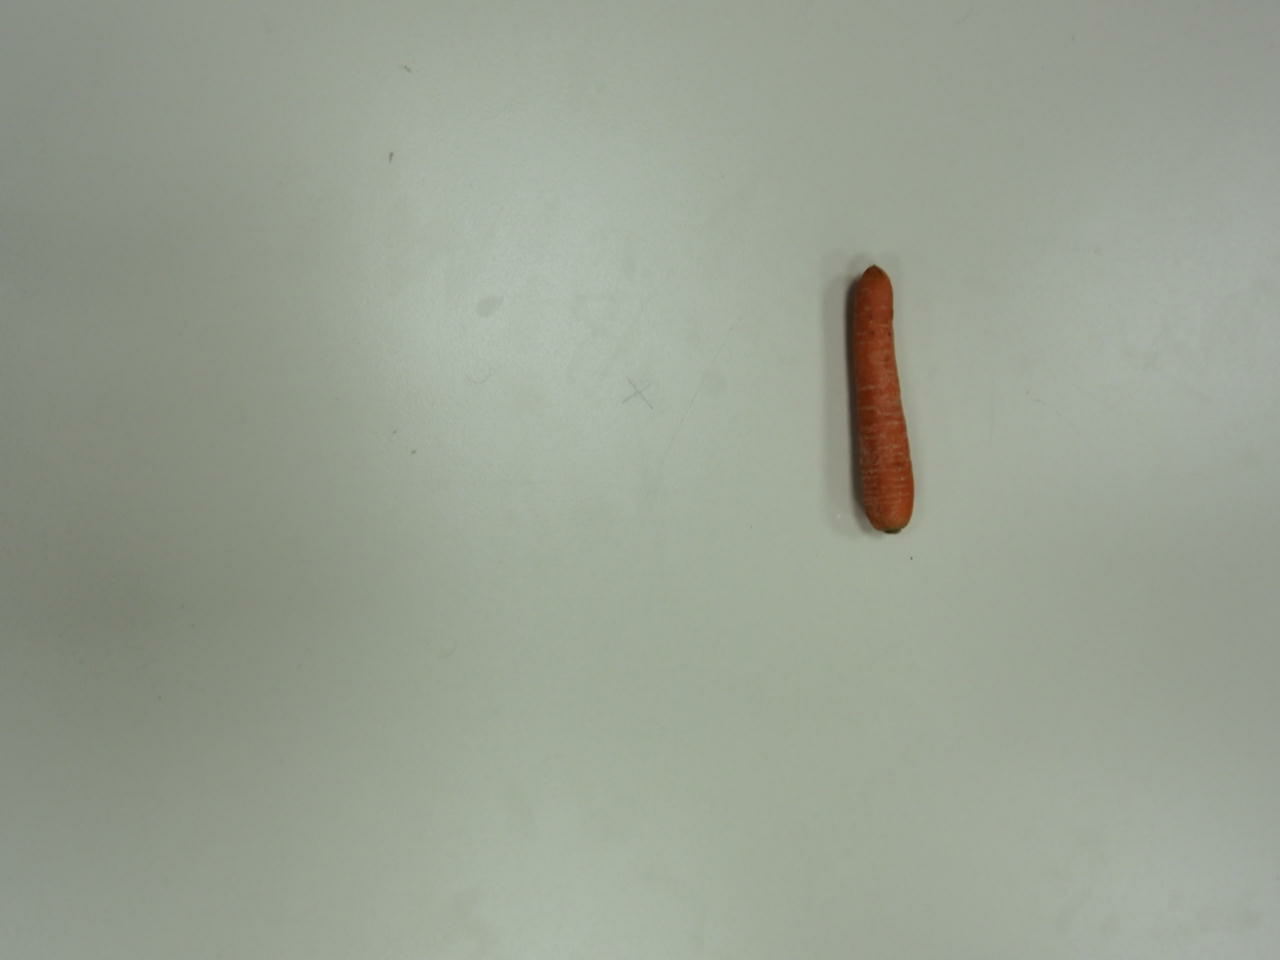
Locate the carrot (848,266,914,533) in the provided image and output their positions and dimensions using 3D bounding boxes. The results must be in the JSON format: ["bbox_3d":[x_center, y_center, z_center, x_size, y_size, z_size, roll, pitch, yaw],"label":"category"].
[{"bbox_3d":[0.110,-0.037,0.453,0.024,0.023,0.122,-3,91,-12],"label":"carrot"}]
